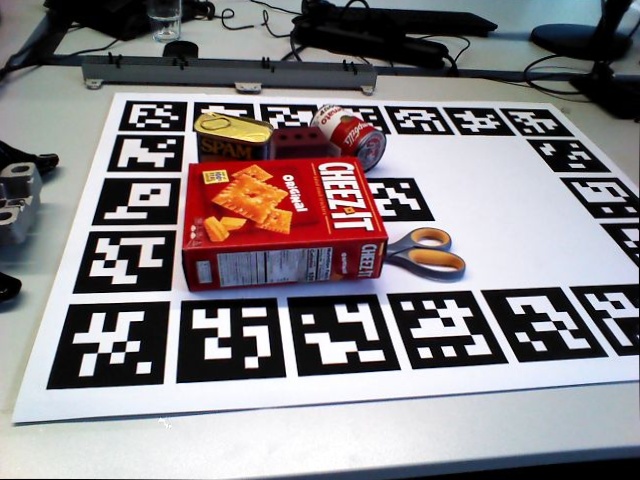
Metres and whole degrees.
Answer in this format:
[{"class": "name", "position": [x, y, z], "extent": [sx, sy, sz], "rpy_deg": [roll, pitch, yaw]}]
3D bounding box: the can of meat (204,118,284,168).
[{"class": "can of meat", "position": [-0.100, -0.108, 0.690], "extent": [0.102, 0.084, 0.057], "rpy_deg": [9, 43, 1]}]

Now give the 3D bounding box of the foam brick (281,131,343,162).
[{"class": "foam brick", "position": [-0.012, -0.118, 0.741], "extent": [0.078, 0.051, 0.052], "rpy_deg": [-9, 46, -17]}]

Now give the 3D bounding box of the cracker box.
[{"class": "cracker box", "position": [-0.028, -0.018, 0.593], "extent": [0.213, 0.072, 0.163], "rpy_deg": [-8, 44, -10]}]

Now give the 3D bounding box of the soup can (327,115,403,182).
[{"class": "soup can", "position": [0.065, -0.138, 0.773], "extent": [0.102, 0.068, 0.067], "rpy_deg": [33, 48, 32]}]

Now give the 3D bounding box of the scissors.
[{"class": "scissors", "position": [0.087, 0.026, 0.607], "extent": [0.202, 0.016, 0.087], "rpy_deg": [-5, 44, -13]}]
